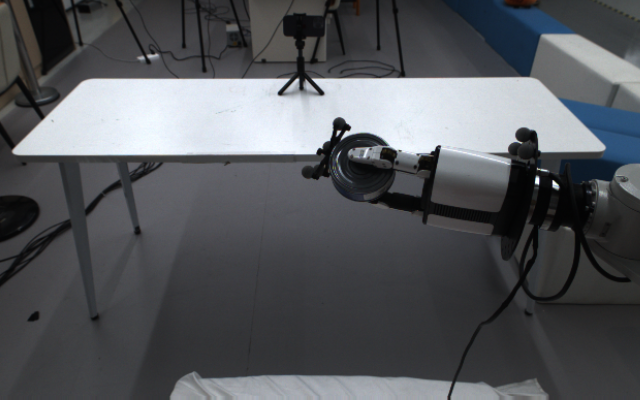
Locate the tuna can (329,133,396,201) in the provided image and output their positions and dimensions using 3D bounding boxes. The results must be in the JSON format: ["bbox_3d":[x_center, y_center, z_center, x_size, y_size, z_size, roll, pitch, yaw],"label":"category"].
[{"bbox_3d":[0.057,-0.044,0.627,0.085,0.034,0.085,-2,71,5],"label":"tuna can"}]
